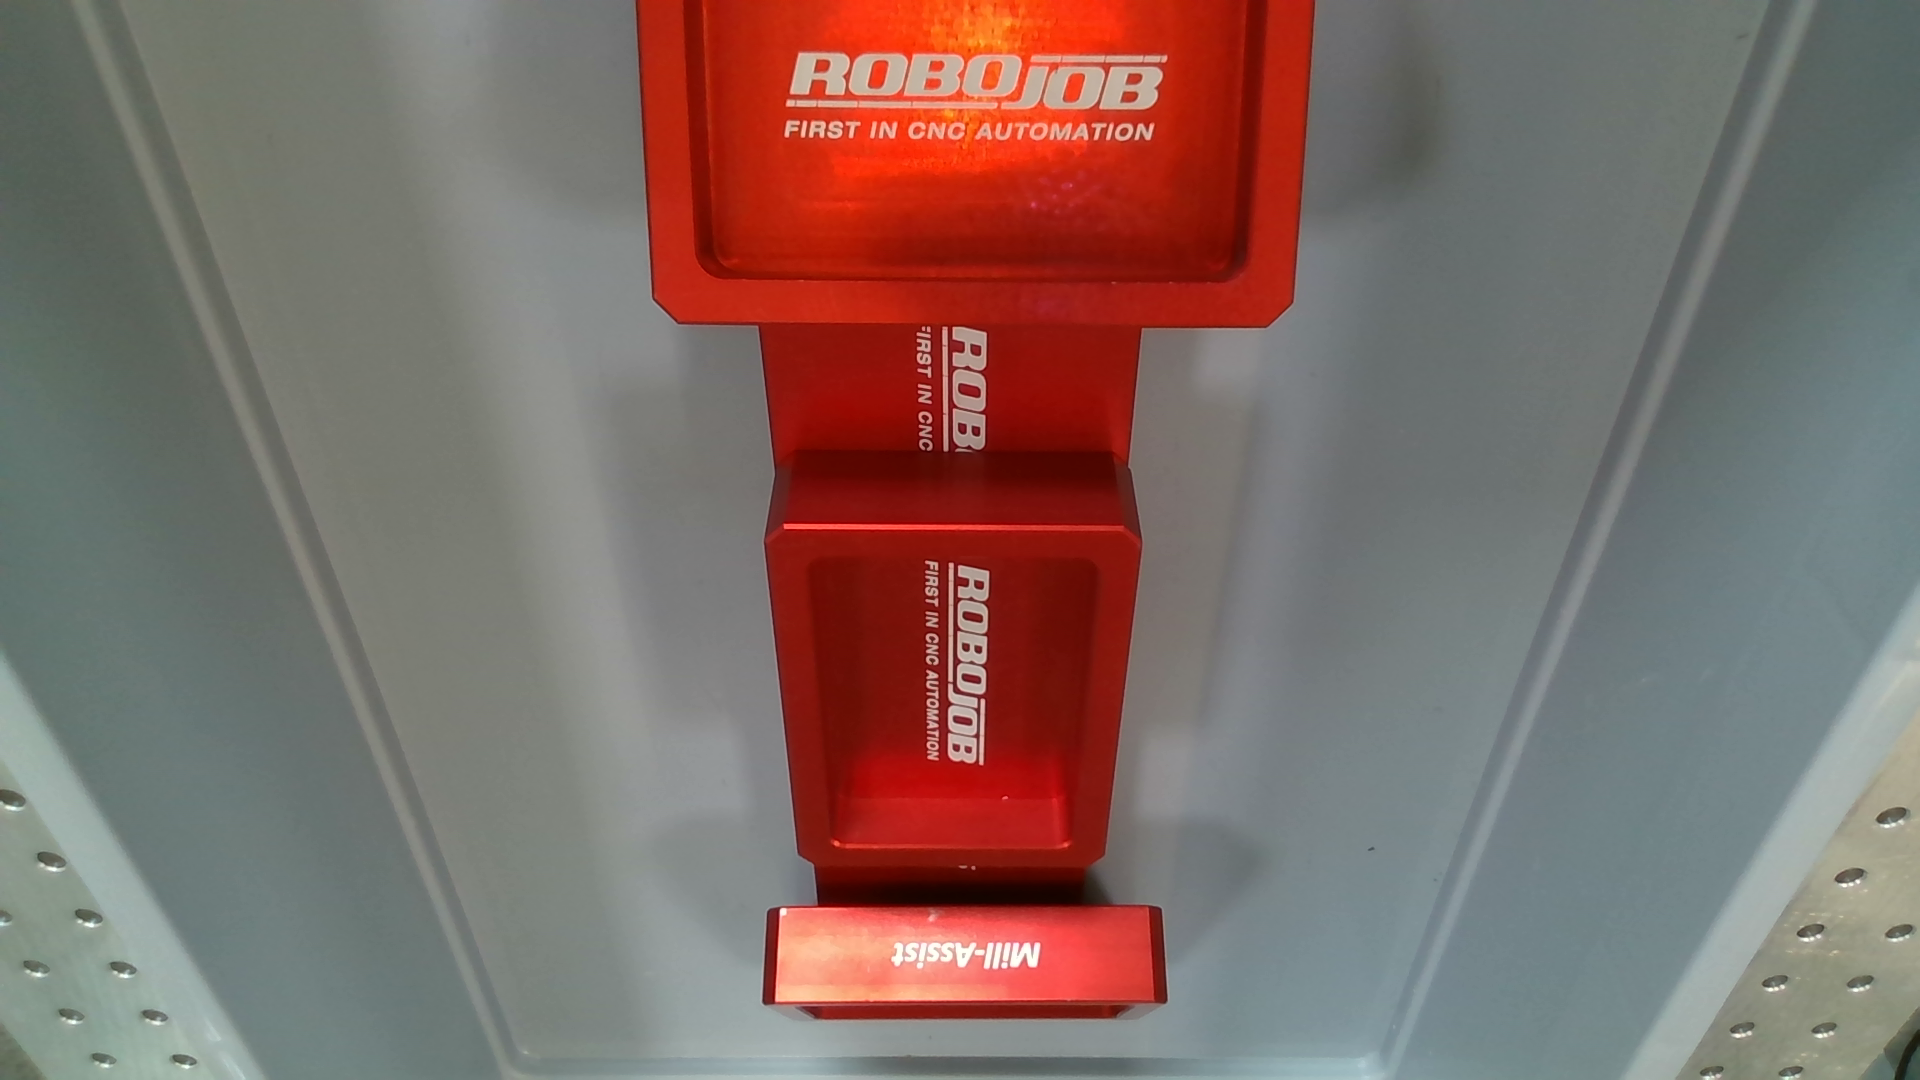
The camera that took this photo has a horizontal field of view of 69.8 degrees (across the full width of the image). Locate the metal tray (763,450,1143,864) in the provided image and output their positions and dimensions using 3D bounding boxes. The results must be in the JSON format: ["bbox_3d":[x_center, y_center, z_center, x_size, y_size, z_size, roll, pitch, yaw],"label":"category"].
[{"bbox_3d":[-0.002,0.036,0.375,0.090,0.030,0.130,0,130,-1],"label":"metal tray"}]

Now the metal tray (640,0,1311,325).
[{"bbox_3d":[0.003,-0.092,0.284,0.130,0.030,0.090,0,105,0],"label":"metal tray"}]

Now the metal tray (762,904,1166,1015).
[{"bbox_3d":[0.001,0.150,0.485,0.130,0.030,0.090,0,158,0],"label":"metal tray"}]

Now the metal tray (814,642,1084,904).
[{"bbox_3d":[-0.004,0.067,0.442,0.090,0.030,0.130,0,130,0],"label":"metal tray"}]

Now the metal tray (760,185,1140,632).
[{"bbox_3d":[-0.002,-0.032,0.358,0.090,0.030,0.130,0,130,0],"label":"metal tray"}]
